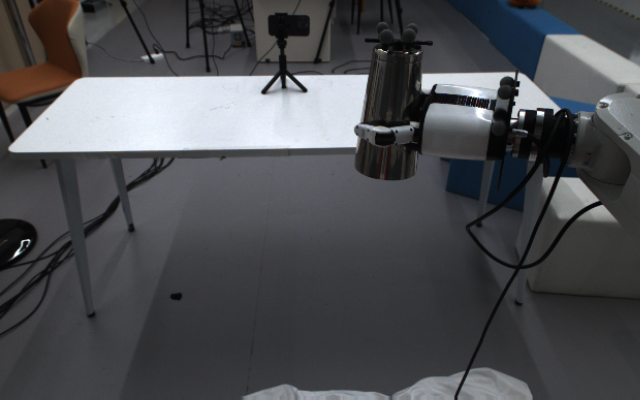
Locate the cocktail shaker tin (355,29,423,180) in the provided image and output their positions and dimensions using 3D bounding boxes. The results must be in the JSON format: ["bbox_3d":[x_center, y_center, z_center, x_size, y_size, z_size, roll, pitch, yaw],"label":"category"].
[{"bbox_3d":[0.101,-0.125,0.674,0.093,0.170,0.093,2,28,-1],"label":"cocktail shaker tin"}]
